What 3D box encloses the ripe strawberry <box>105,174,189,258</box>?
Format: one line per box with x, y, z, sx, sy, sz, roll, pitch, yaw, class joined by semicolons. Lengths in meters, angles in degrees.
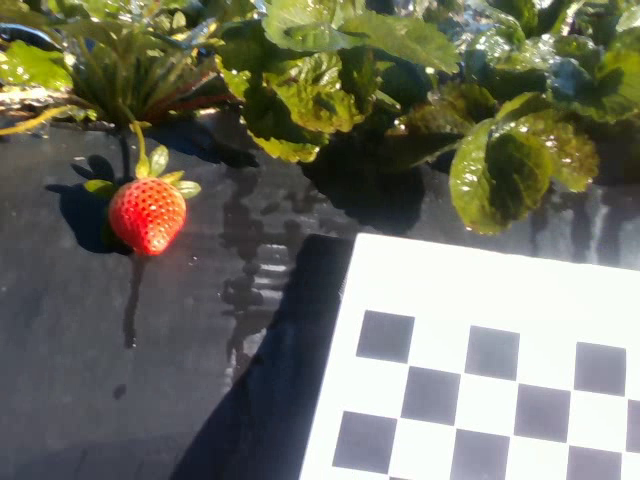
-0.080;-0.013;0.358;0.039;0.041;0.053;-9;38;-4;ripe strawberry
